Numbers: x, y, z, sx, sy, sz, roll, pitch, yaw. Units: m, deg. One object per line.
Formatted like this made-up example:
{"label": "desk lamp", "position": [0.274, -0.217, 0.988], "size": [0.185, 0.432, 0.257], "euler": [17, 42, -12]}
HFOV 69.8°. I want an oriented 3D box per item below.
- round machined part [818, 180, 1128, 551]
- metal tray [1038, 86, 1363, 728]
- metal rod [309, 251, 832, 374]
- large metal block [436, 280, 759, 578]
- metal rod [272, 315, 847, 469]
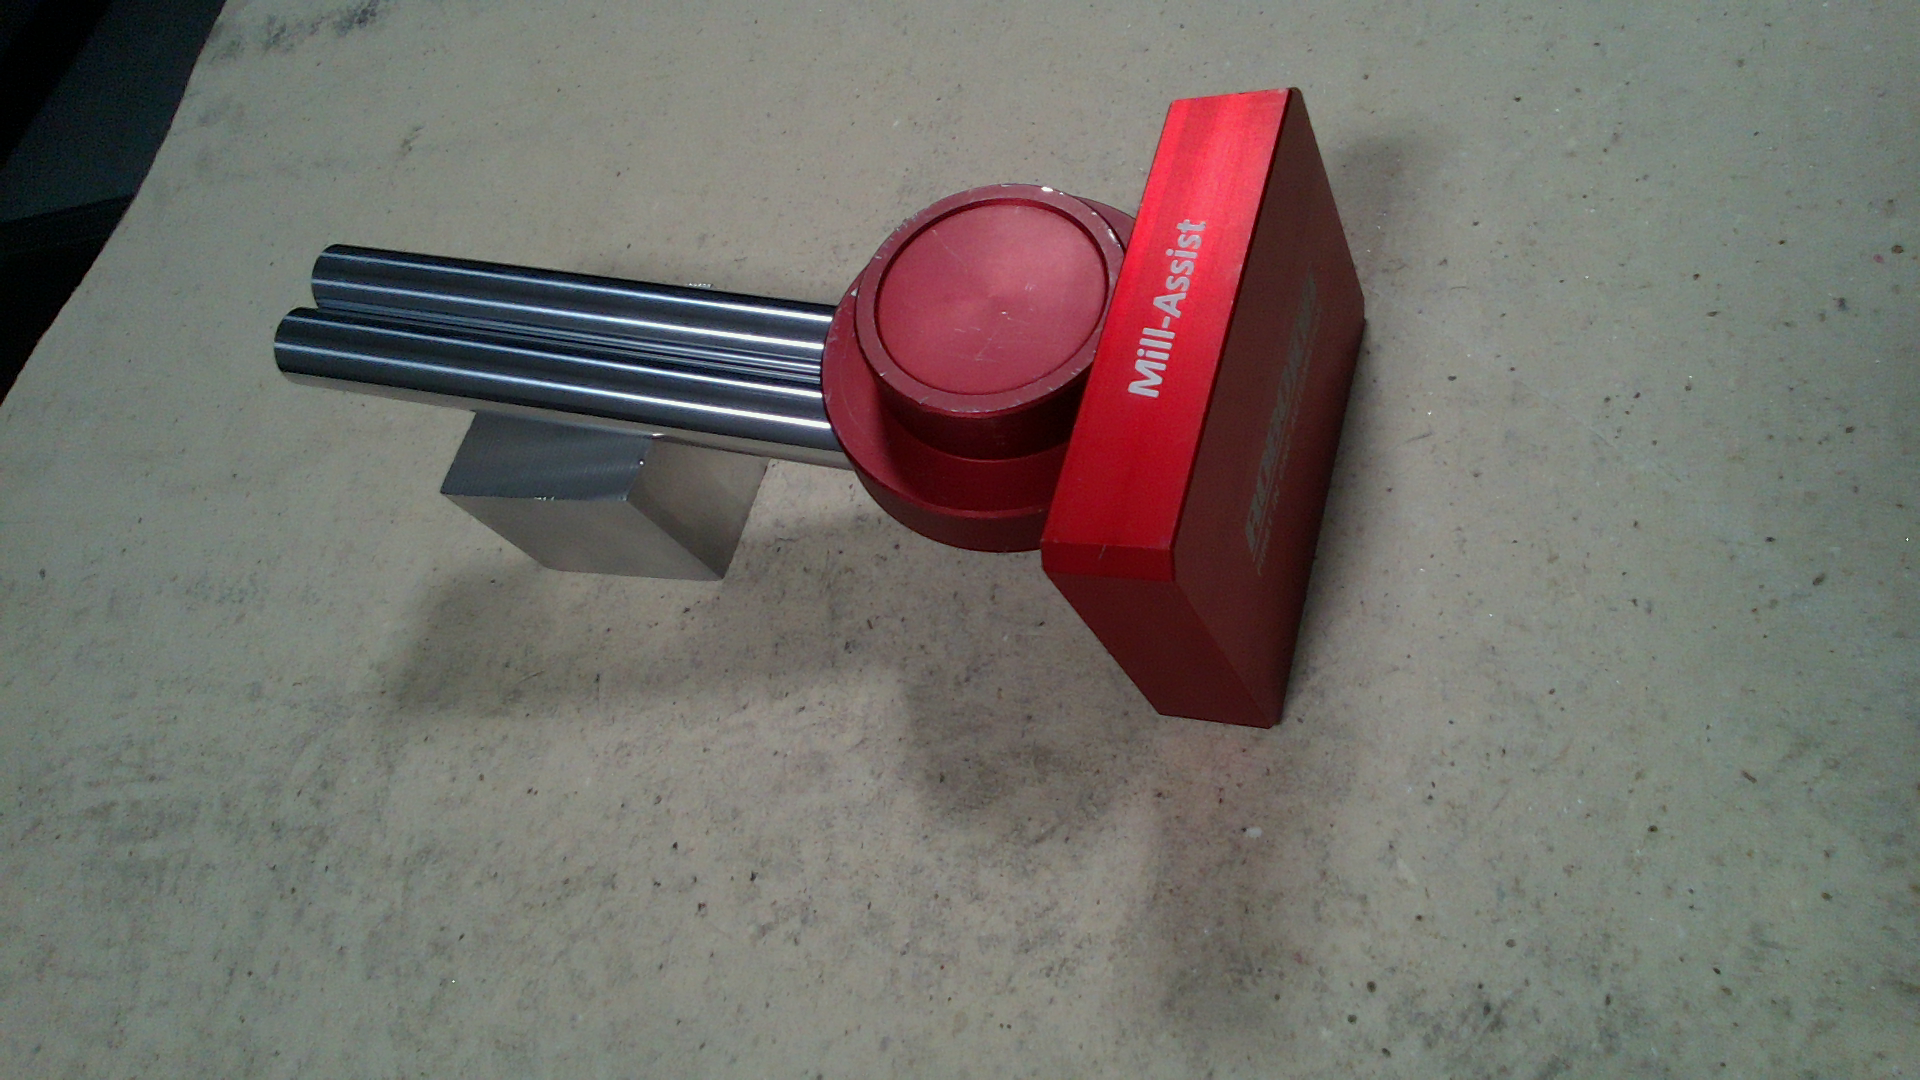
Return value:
{"label": "round machined part", "position": [0.010, -0.050, 0.345], "size": [0.098, 0.042, 0.098], "euler": [-7, 62, 13]}
{"label": "metal tray", "position": [0.065, -0.031, 0.335], "size": [0.030, 0.090, 0.130], "euler": [3, 63, 30]}
{"label": "metal rod", "position": [-0.066, -0.062, 0.410], "size": [0.299, 0.025, 0.025], "euler": [8, 65, 18]}
{"label": "large metal block", "position": [-0.112, -0.037, 0.457], "size": [0.080, 0.050, 0.080], "euler": [3, 63, 30]}
{"label": "metal rod", "position": [-0.073, -0.039, 0.399], "size": [0.299, 0.025, 0.025], "euler": [9, 66, 18]}
